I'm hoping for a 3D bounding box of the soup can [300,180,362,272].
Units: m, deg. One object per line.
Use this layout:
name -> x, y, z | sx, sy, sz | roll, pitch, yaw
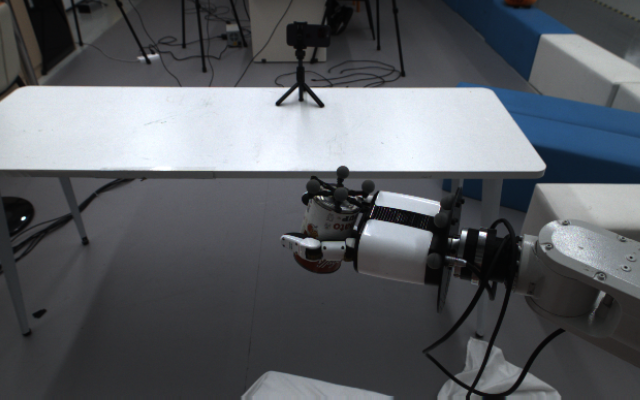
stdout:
soup can -> 0.010, 0.037, 0.636 | 0.067, 0.101, 0.067 | 13, 30, -8
